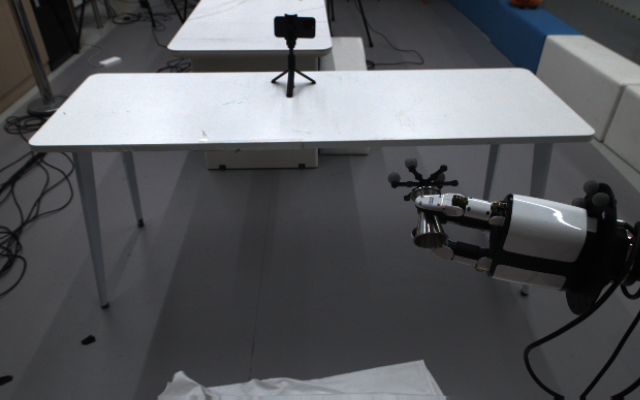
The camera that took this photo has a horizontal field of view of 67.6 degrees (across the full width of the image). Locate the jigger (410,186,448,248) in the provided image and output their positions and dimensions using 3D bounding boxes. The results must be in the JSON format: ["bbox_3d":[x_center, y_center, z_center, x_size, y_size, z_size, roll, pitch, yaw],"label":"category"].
[{"bbox_3d":[0.139,0.019,0.619,0.043,0.043,0.071,2,59,-1],"label":"jigger"}]
